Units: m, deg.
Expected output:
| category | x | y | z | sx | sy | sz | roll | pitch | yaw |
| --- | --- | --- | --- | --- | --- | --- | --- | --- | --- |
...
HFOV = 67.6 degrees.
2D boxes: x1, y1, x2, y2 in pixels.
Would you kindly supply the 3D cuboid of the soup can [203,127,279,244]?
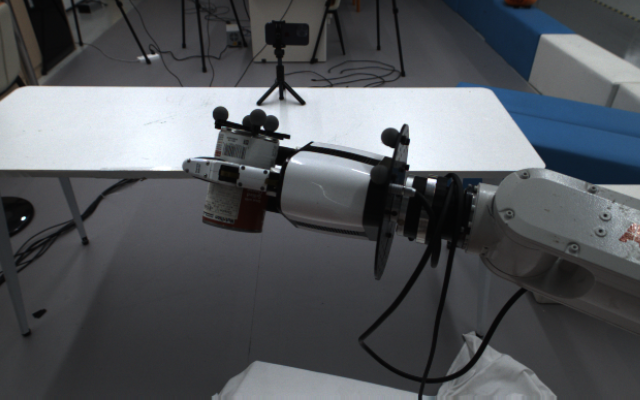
| category | x | y | z | sx | sy | sz | roll | pitch | yaw |
| --- | --- | --- | --- | --- | --- | --- | --- | --- | --- |
| soup can | -0.084 | -0.022 | 0.523 | 0.067 | 0.101 | 0.067 | 11 | 2 | 0 |
